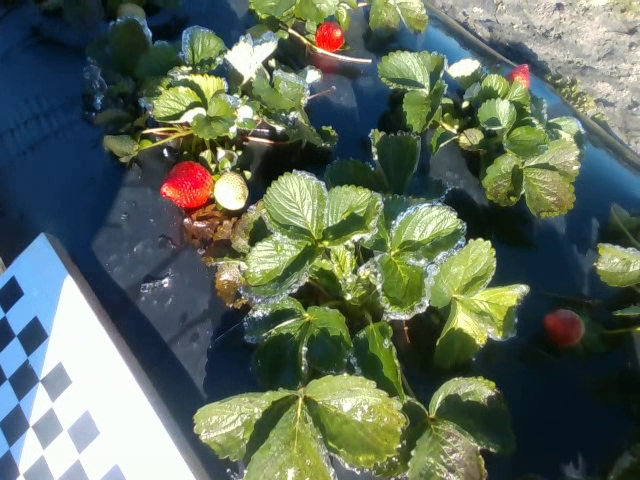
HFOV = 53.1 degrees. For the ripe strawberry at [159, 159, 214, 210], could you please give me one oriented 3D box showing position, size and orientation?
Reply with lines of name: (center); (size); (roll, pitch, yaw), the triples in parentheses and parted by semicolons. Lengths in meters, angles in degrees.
ripe strawberry: (-0.106, -0.040, 0.470); (0.040, 0.042, 0.053); (8, 15, 20)
